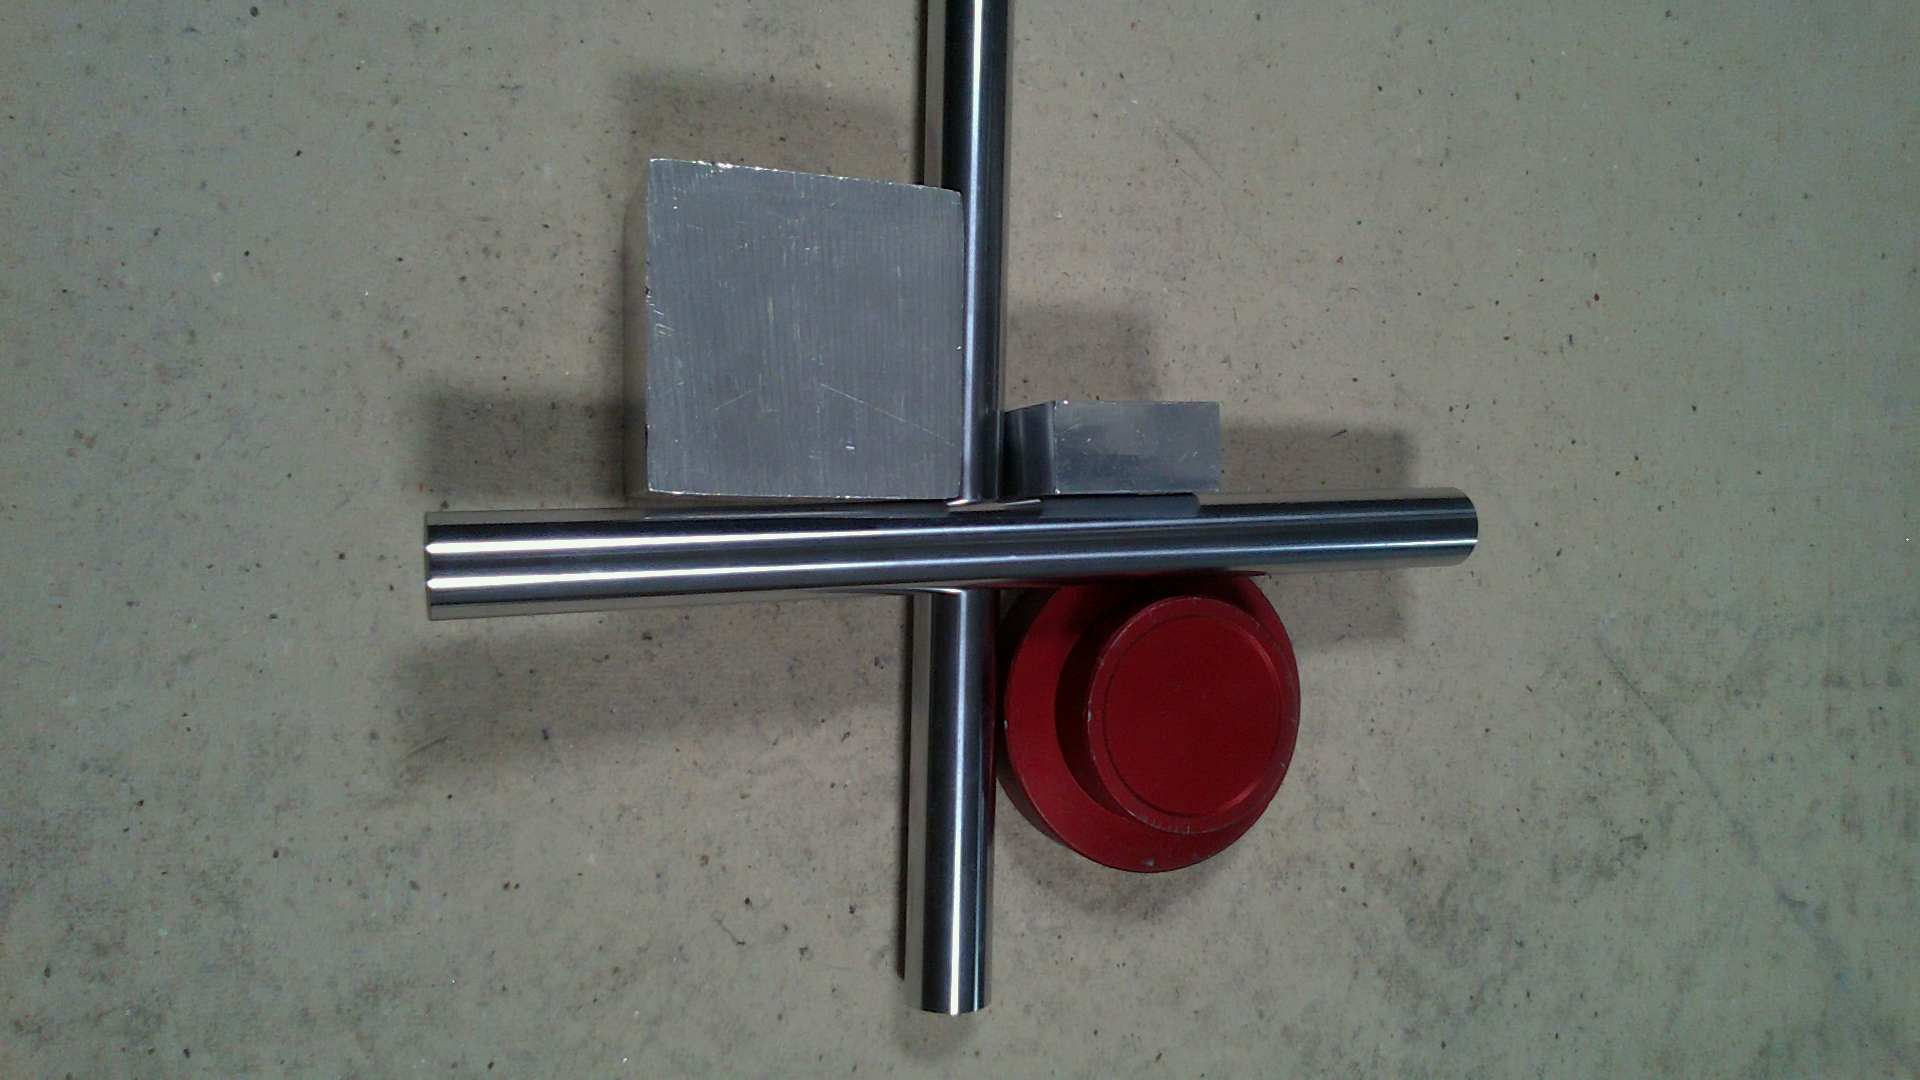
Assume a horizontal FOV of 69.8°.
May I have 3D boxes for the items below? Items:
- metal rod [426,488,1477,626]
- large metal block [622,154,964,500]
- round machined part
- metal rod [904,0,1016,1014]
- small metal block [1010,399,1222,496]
[{"bbox_3d":[0.017,0.001,0.373,0.301,0.025,0.025,-2,91,-24],"label":"metal rod"},{"bbox_3d":[-0.045,-0.051,0.363,0.080,0.050,0.080,1,90,-20],"label":"large metal block"},{"bbox_3d":[0.059,0.050,0.405,0.098,0.042,0.098,0,90,-20],"label":"round machined part"},{"bbox_3d":[0.000,-0.019,0.394,0.025,0.025,0.300,2,90,-20],"label":"metal rod"},{"bbox_3d":[0.040,-0.026,0.395,0.050,0.050,0.025,-2,91,-20],"label":"small metal block"}]
